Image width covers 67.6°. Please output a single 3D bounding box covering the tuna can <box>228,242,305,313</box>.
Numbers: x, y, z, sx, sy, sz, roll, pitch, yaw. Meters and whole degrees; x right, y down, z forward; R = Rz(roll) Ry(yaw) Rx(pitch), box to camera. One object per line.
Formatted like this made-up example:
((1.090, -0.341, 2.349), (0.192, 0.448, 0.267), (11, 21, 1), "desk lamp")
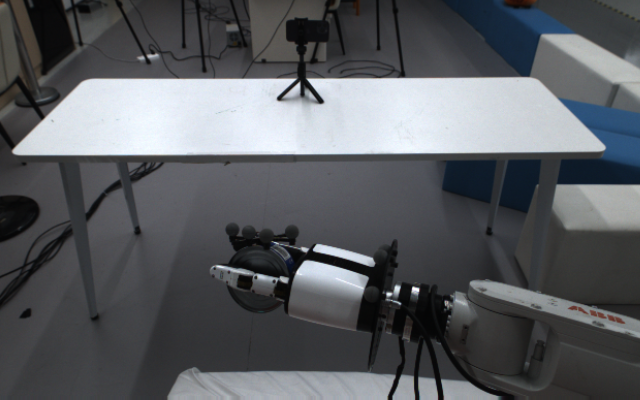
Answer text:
((-0.070, 0.097, 0.610), (0.085, 0.085, 0.034), (12, 8, 14), "tuna can")
